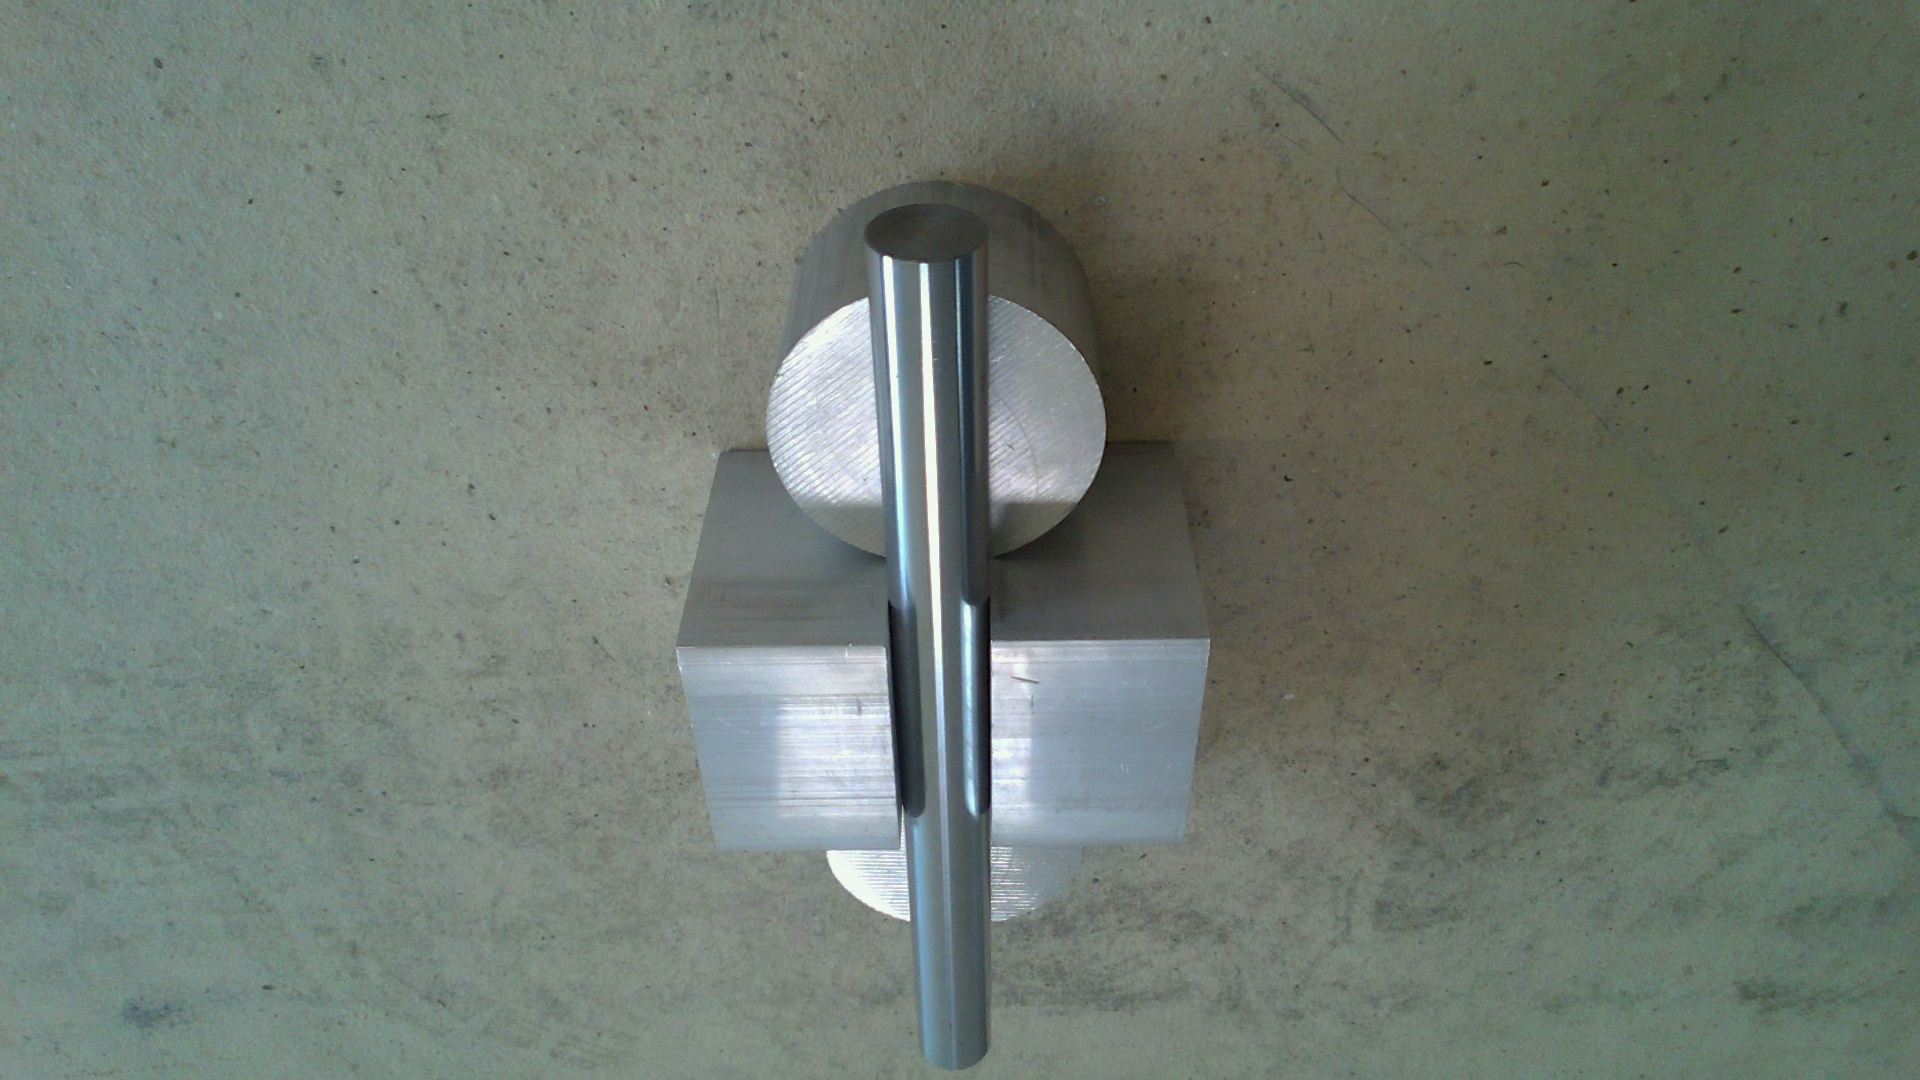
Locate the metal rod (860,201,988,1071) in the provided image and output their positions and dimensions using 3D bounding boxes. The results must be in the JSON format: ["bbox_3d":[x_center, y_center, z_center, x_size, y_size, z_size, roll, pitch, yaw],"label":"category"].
[{"bbox_3d":[-0.005,0.053,0.370,0.025,0.025,0.300,-1,130,1],"label":"metal rod"}]

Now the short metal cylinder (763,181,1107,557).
[{"bbox_3d":[-0.006,-0.040,0.340,0.080,0.050,0.080,0,130,0],"label":"short metal cylinder"}]

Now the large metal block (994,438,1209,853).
[{"bbox_3d":[0.034,0.028,0.379,0.050,0.080,0.080,-1,130,1],"label":"large metal block"}]

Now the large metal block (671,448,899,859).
[{"bbox_3d":[-0.042,0.030,0.380,0.050,0.080,0.080,-1,130,1],"label":"large metal block"}]

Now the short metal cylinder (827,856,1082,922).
[{"bbox_3d":[-0.002,0.079,0.442,0.080,0.050,0.080,0,130,0],"label":"short metal cylinder"}]
